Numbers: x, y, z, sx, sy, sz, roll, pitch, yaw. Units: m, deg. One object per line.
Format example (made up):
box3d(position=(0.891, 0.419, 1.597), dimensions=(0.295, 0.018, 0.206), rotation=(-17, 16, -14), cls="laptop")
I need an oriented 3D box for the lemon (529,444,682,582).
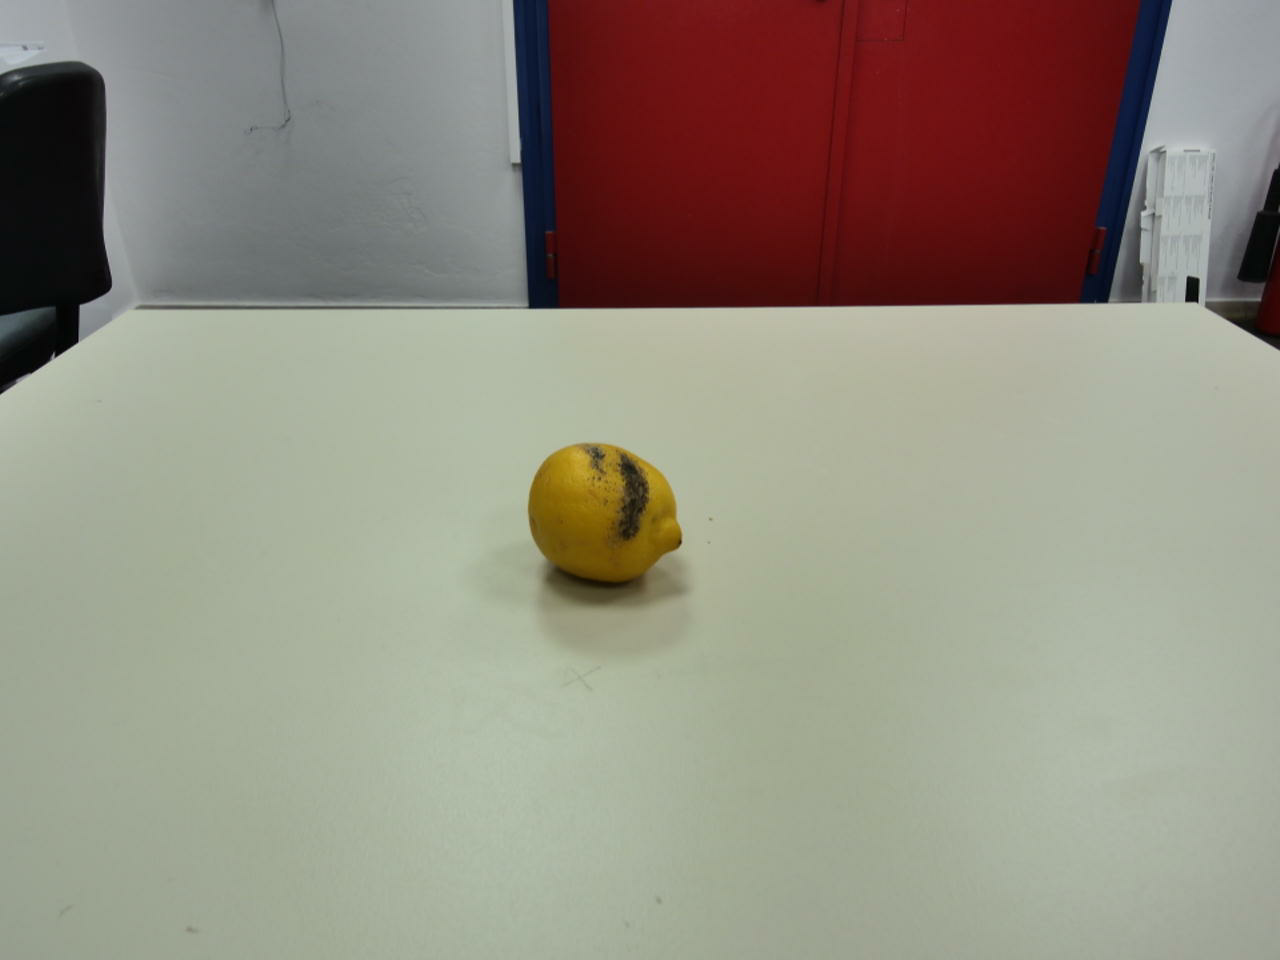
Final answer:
box3d(position=(-0.016, 0.013, 0.416), dimensions=(0.061, 0.056, 0.058), rotation=(-4, 25, -7), cls="lemon")
